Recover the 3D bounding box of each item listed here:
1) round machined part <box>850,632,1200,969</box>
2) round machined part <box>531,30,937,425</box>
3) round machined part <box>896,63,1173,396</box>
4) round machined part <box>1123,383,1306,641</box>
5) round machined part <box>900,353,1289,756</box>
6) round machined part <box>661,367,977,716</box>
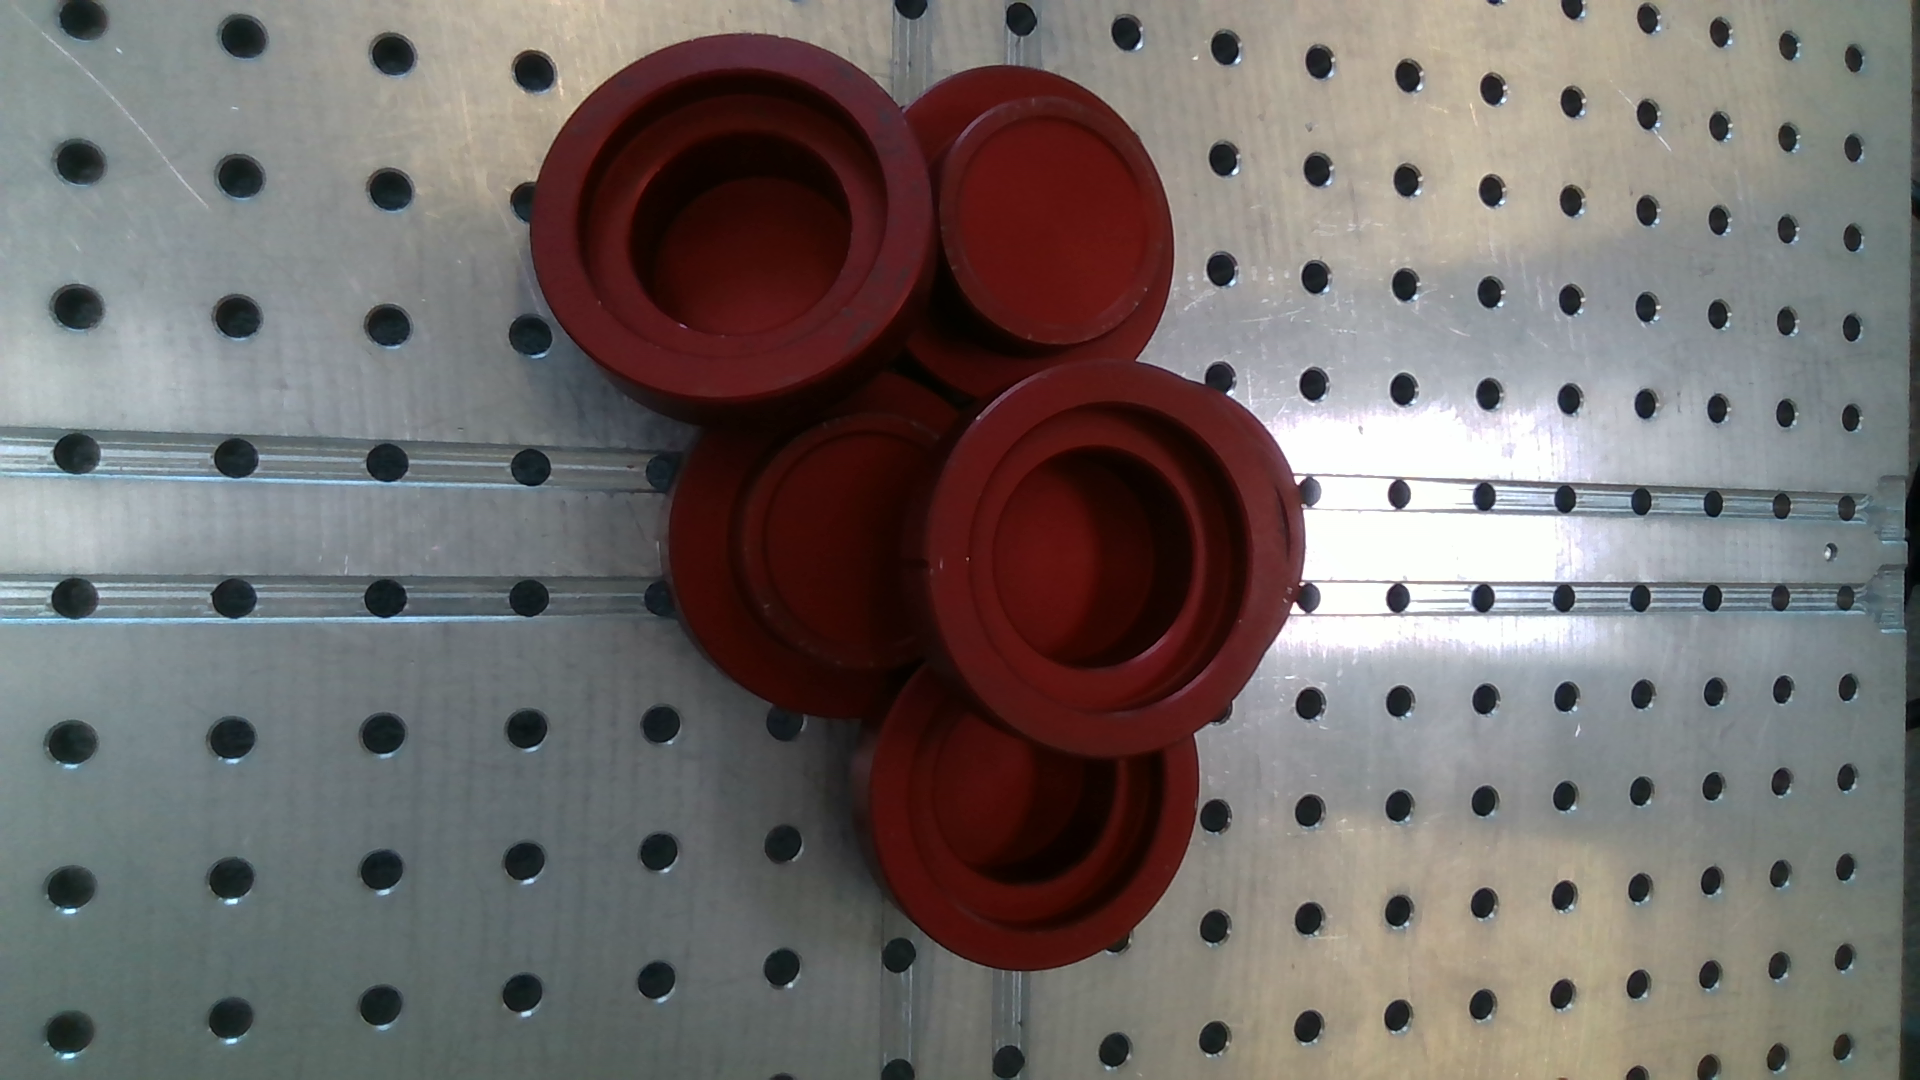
[{"bbox_3d":[0.015,0.068,0.393,0.098,0.042,0.098,0,90,-20],"label":"round machined part"},{"bbox_3d":[-0.055,-0.076,0.353,0.098,0.042,0.098,-1,76,2],"label":"round machined part"},{"bbox_3d":[0.018,-0.087,0.394,0.098,0.042,0.098,0,90,-20],"label":"round machined part"},{"bbox_3d":[0.062,-0.001,0.410,0.098,0.042,0.098,0,90,-20],"label":"round machined part"},{"bbox_3d":[0.031,0.004,0.353,0.098,0.042,0.098,0,90,-20],"label":"round machined part"},{"bbox_3d":[-0.030,-0.001,0.376,0.098,0.042,0.098,0,90,-20],"label":"round machined part"}]
